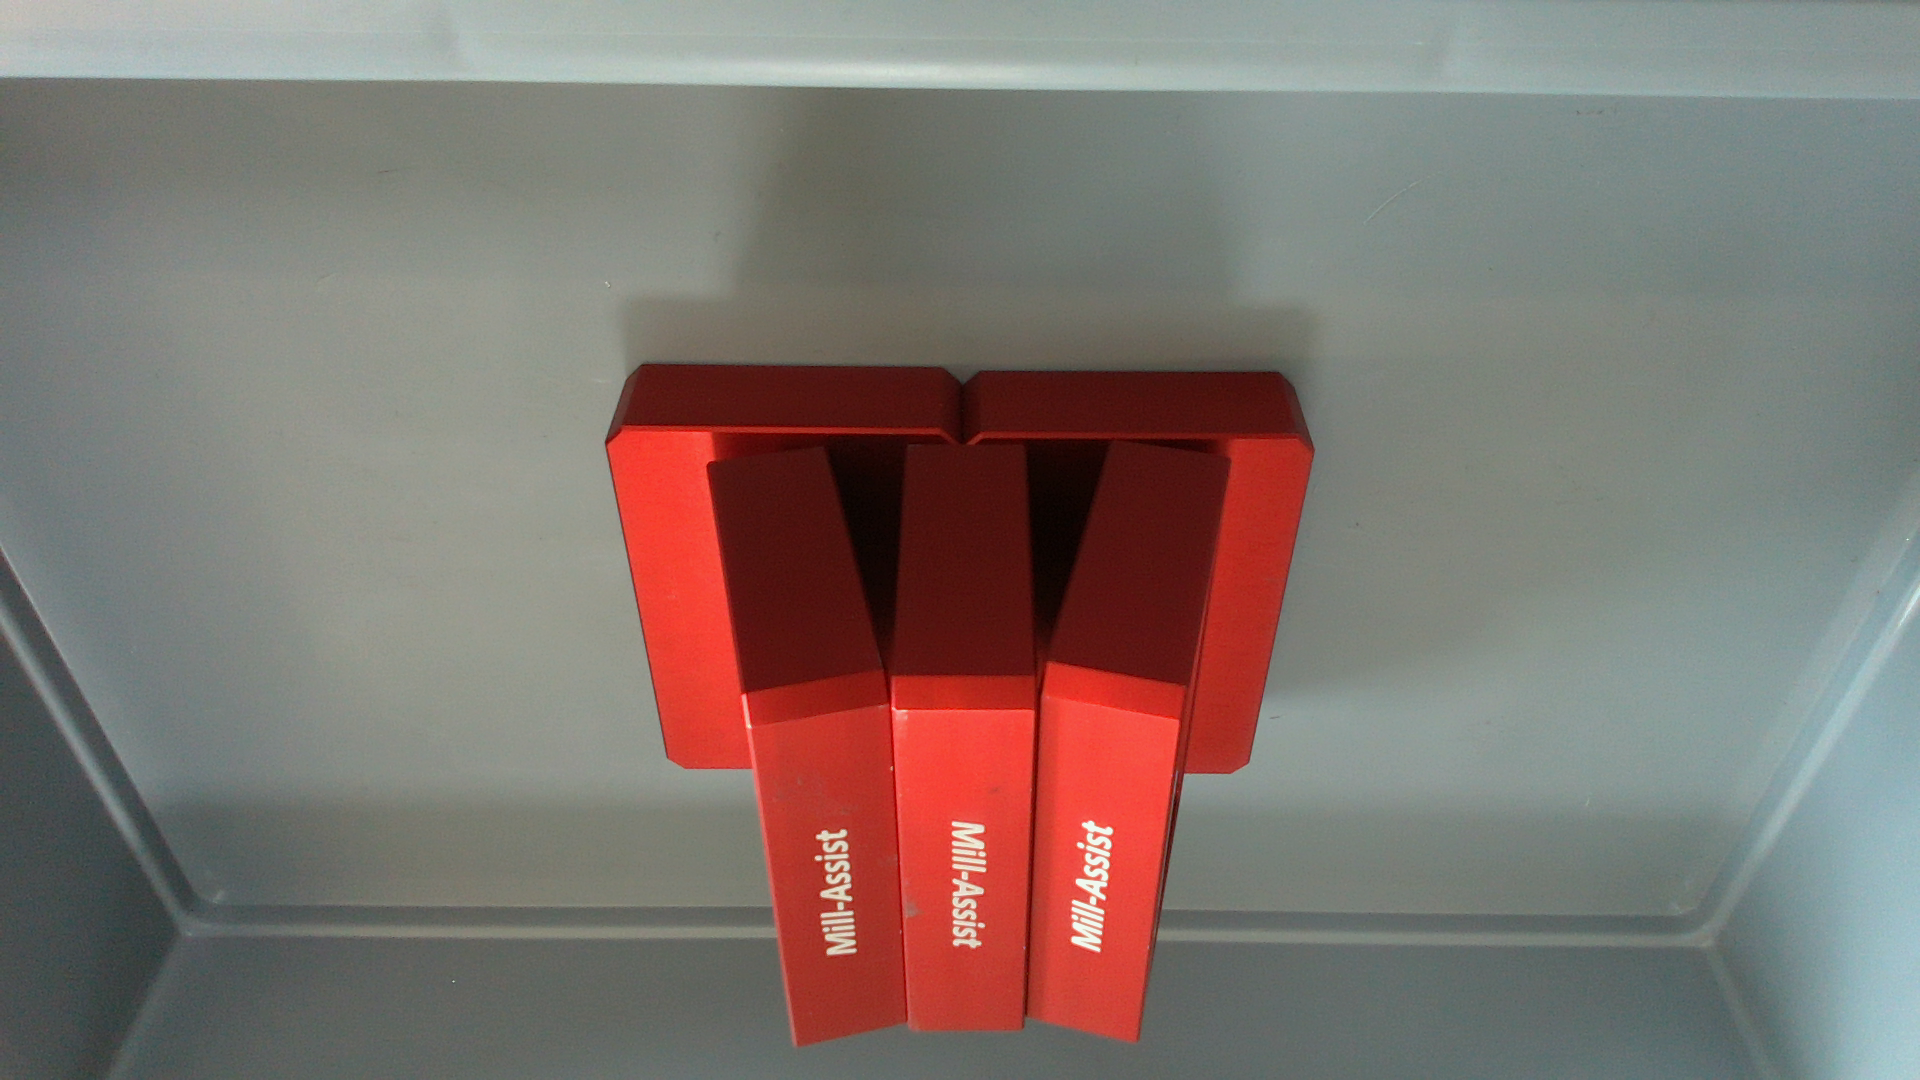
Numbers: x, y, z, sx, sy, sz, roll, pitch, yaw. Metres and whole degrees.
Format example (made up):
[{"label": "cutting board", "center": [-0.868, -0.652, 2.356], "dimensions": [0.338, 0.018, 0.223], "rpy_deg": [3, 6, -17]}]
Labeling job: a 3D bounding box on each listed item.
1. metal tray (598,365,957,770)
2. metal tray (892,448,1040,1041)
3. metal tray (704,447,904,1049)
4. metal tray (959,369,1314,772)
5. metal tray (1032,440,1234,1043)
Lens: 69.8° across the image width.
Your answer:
[{"label": "metal tray", "center": [-0.046, 0.013, 0.395], "dimensions": [0.090, 0.030, 0.130], "rpy_deg": [0, 130, 0]}, {"label": "metal tray", "center": [0.002, 0.053, 0.350], "dimensions": [0.030, 0.090, 0.130], "rpy_deg": [0, 128, 0]}, {"label": "metal tray", "center": [-0.039, 0.054, 0.349], "dimensions": [0.030, 0.090, 0.130], "rpy_deg": [-8, 131, -9]}, {"label": "metal tray", "center": [0.045, 0.013, 0.397], "dimensions": [0.090, 0.030, 0.130], "rpy_deg": [0, 130, 0]}, {"label": "metal tray", "center": [0.042, 0.052, 0.348], "dimensions": [0.030, 0.090, 0.130], "rpy_deg": [9, 131, 11]}]
